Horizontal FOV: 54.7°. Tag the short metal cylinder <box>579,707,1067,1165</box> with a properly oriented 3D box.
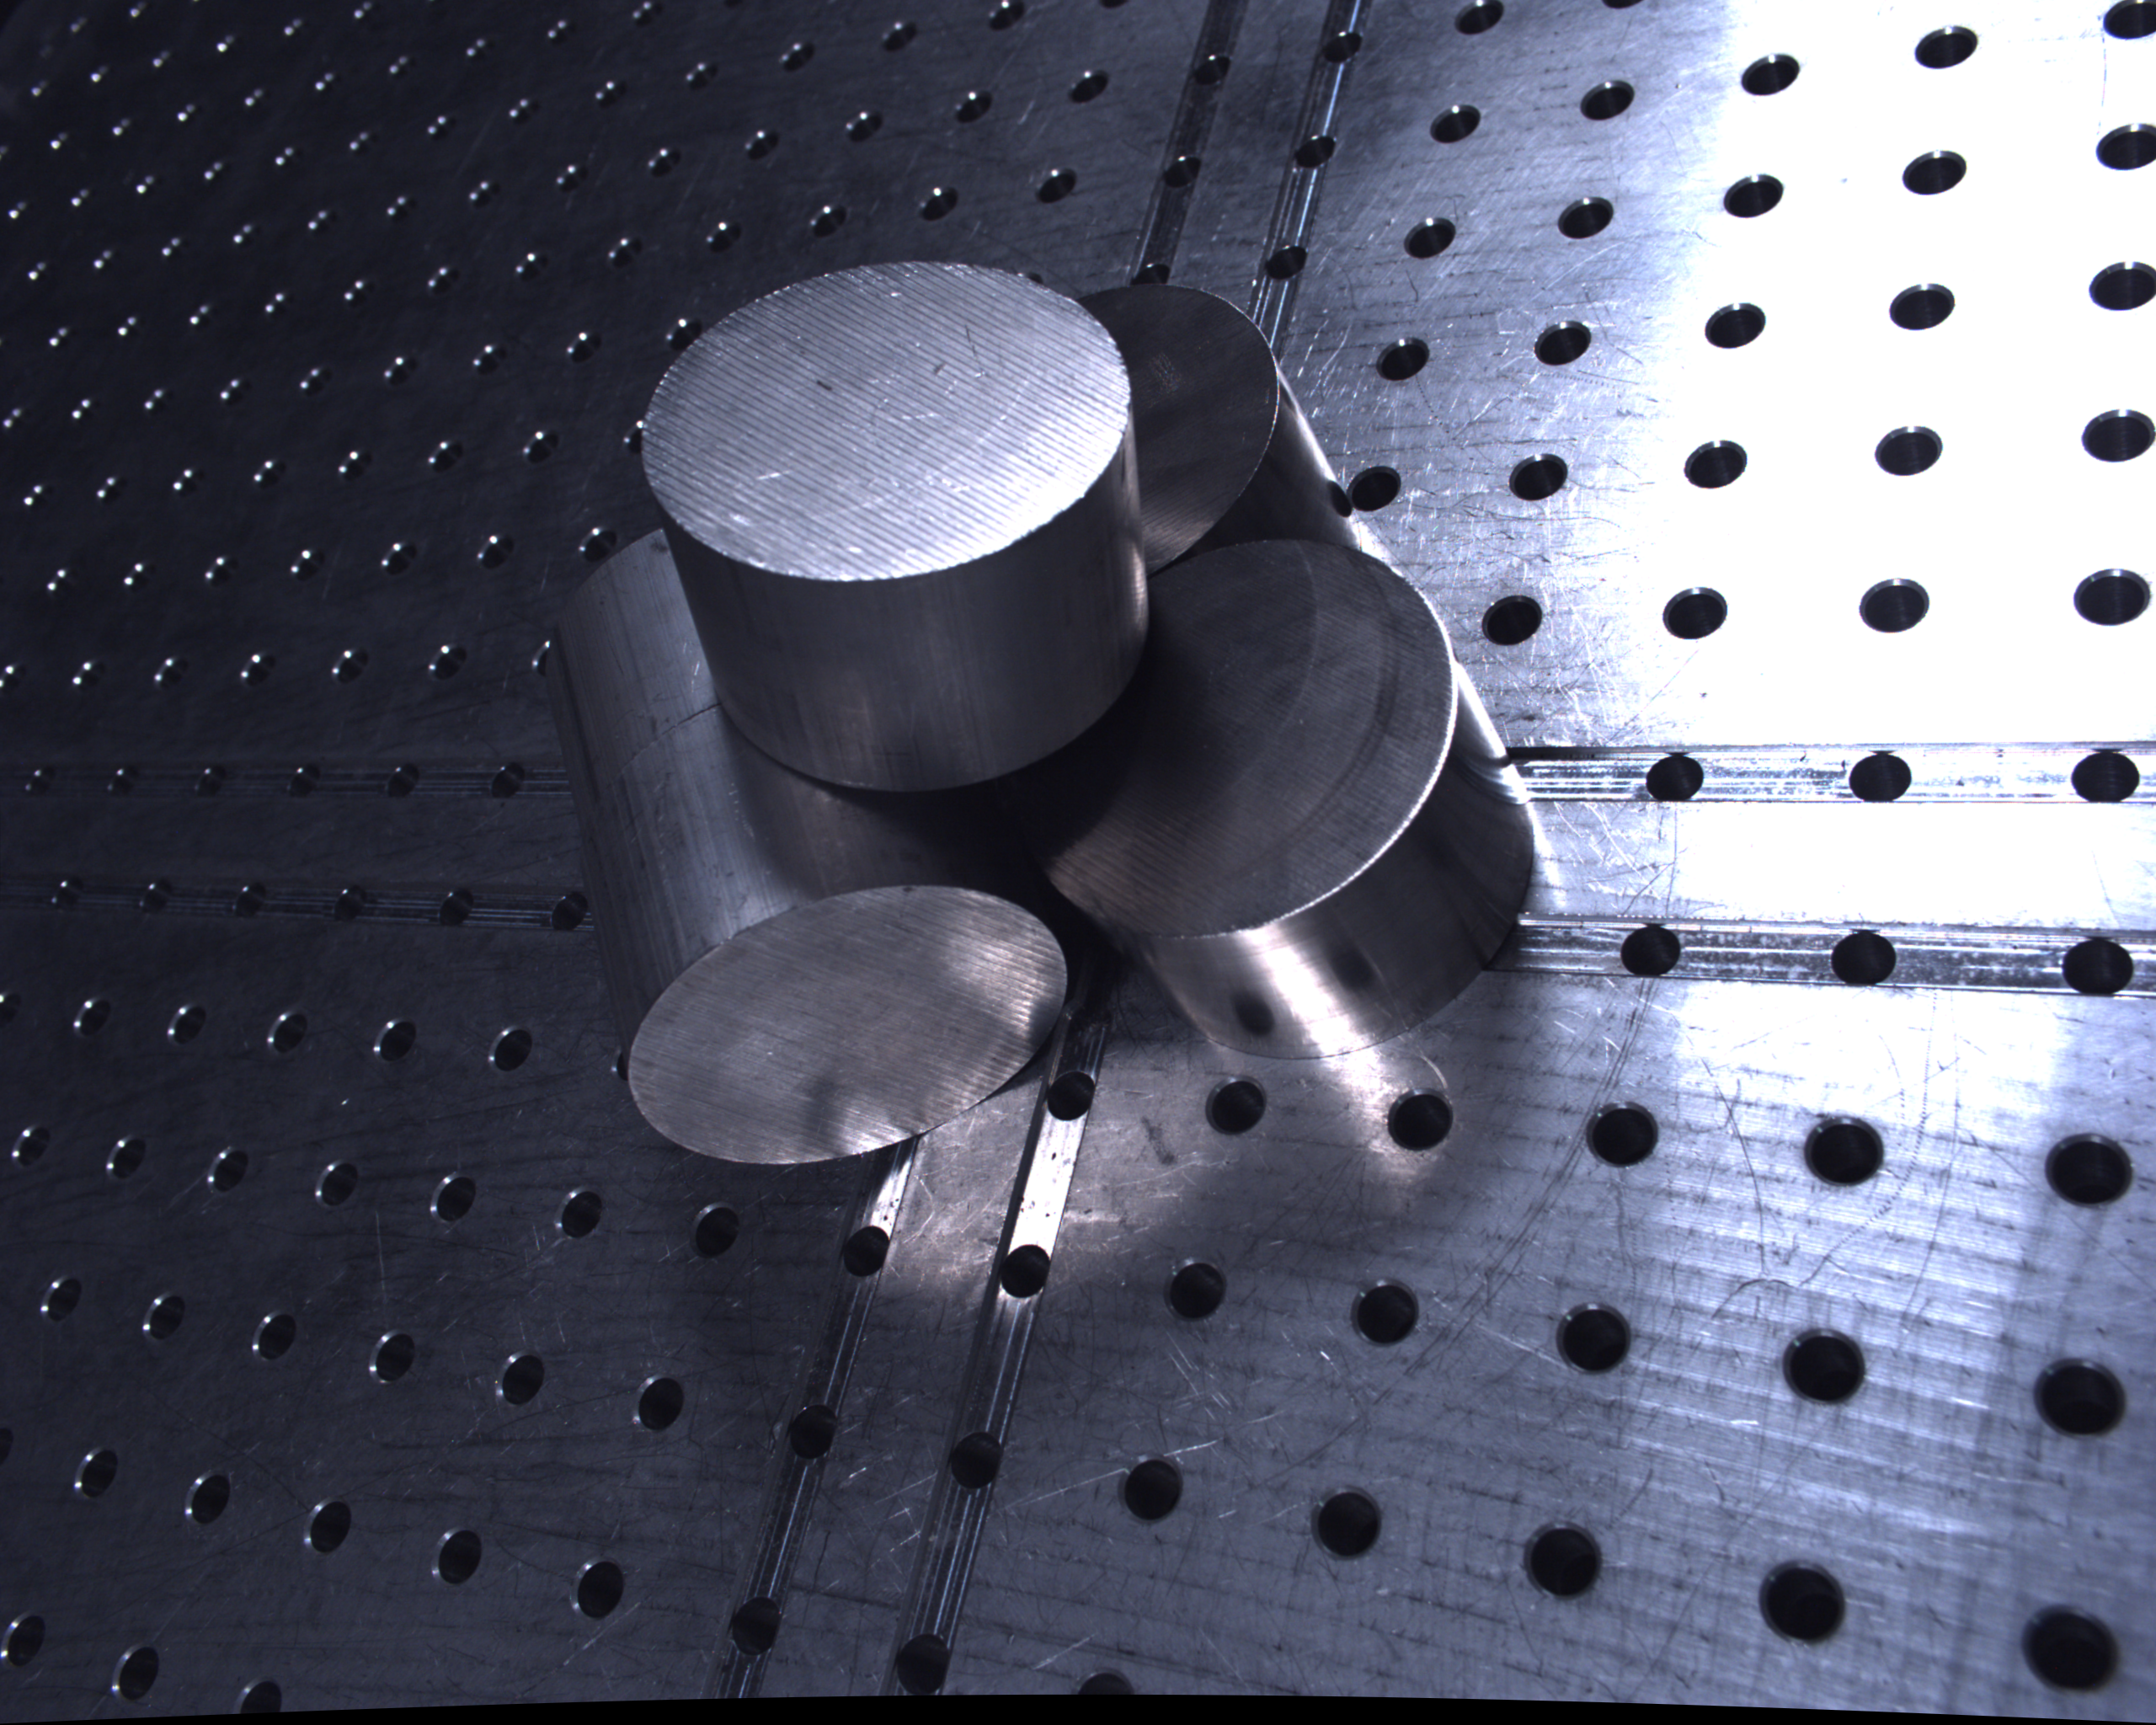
[{"bbox_3d":[-0.048,0.013,0.389,0.080,0.080,0.050,-30,52,9],"label":"short metal cylinder"}]

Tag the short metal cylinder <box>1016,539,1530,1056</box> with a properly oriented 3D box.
[{"bbox_3d":[0.036,-0.011,0.378,0.080,0.050,0.080,-13,56,20],"label":"short metal cylinder"}]

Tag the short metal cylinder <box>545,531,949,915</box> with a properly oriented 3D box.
[{"bbox_3d":[-0.062,-0.025,0.419,0.080,0.080,0.050,-30,52,9],"label":"short metal cylinder"}]

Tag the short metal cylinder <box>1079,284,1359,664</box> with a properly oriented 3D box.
[{"bbox_3d":[0.011,-0.071,0.427,0.080,0.050,0.080,-13,56,20],"label":"short metal cylinder"}]

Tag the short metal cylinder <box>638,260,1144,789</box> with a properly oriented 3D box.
[{"bbox_3d":[-0.030,-0.059,0.360,0.080,0.050,0.080,-2,51,3],"label":"short metal cylinder"}]
